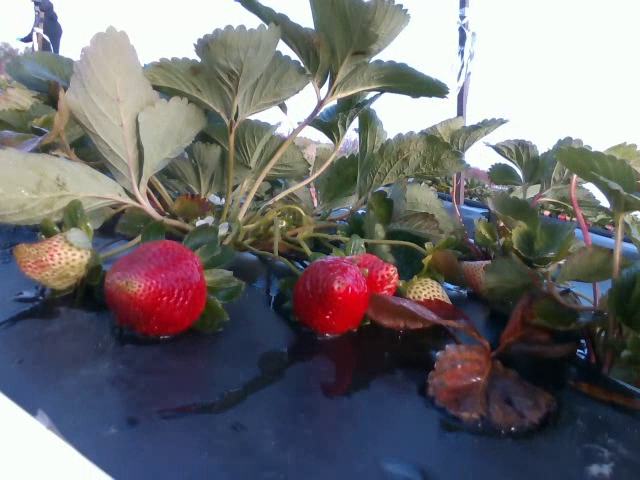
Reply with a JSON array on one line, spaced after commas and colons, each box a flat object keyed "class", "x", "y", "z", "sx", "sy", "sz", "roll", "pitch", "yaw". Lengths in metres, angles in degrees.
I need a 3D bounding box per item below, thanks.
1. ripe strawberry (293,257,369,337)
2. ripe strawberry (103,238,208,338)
[{"class": "ripe strawberry", "x": 0.004, "y": 0.027, "z": 0.292, "sx": 0.044, "sy": 0.042, "sz": 0.055, "roll": -30, "pitch": -8, "yaw": -11}, {"class": "ripe strawberry", "x": -0.079, "y": 0.018, "z": 0.271, "sx": 0.050, "sy": 0.050, "sz": 0.065, "roll": -15, "pitch": -13, "yaw": 7}]
